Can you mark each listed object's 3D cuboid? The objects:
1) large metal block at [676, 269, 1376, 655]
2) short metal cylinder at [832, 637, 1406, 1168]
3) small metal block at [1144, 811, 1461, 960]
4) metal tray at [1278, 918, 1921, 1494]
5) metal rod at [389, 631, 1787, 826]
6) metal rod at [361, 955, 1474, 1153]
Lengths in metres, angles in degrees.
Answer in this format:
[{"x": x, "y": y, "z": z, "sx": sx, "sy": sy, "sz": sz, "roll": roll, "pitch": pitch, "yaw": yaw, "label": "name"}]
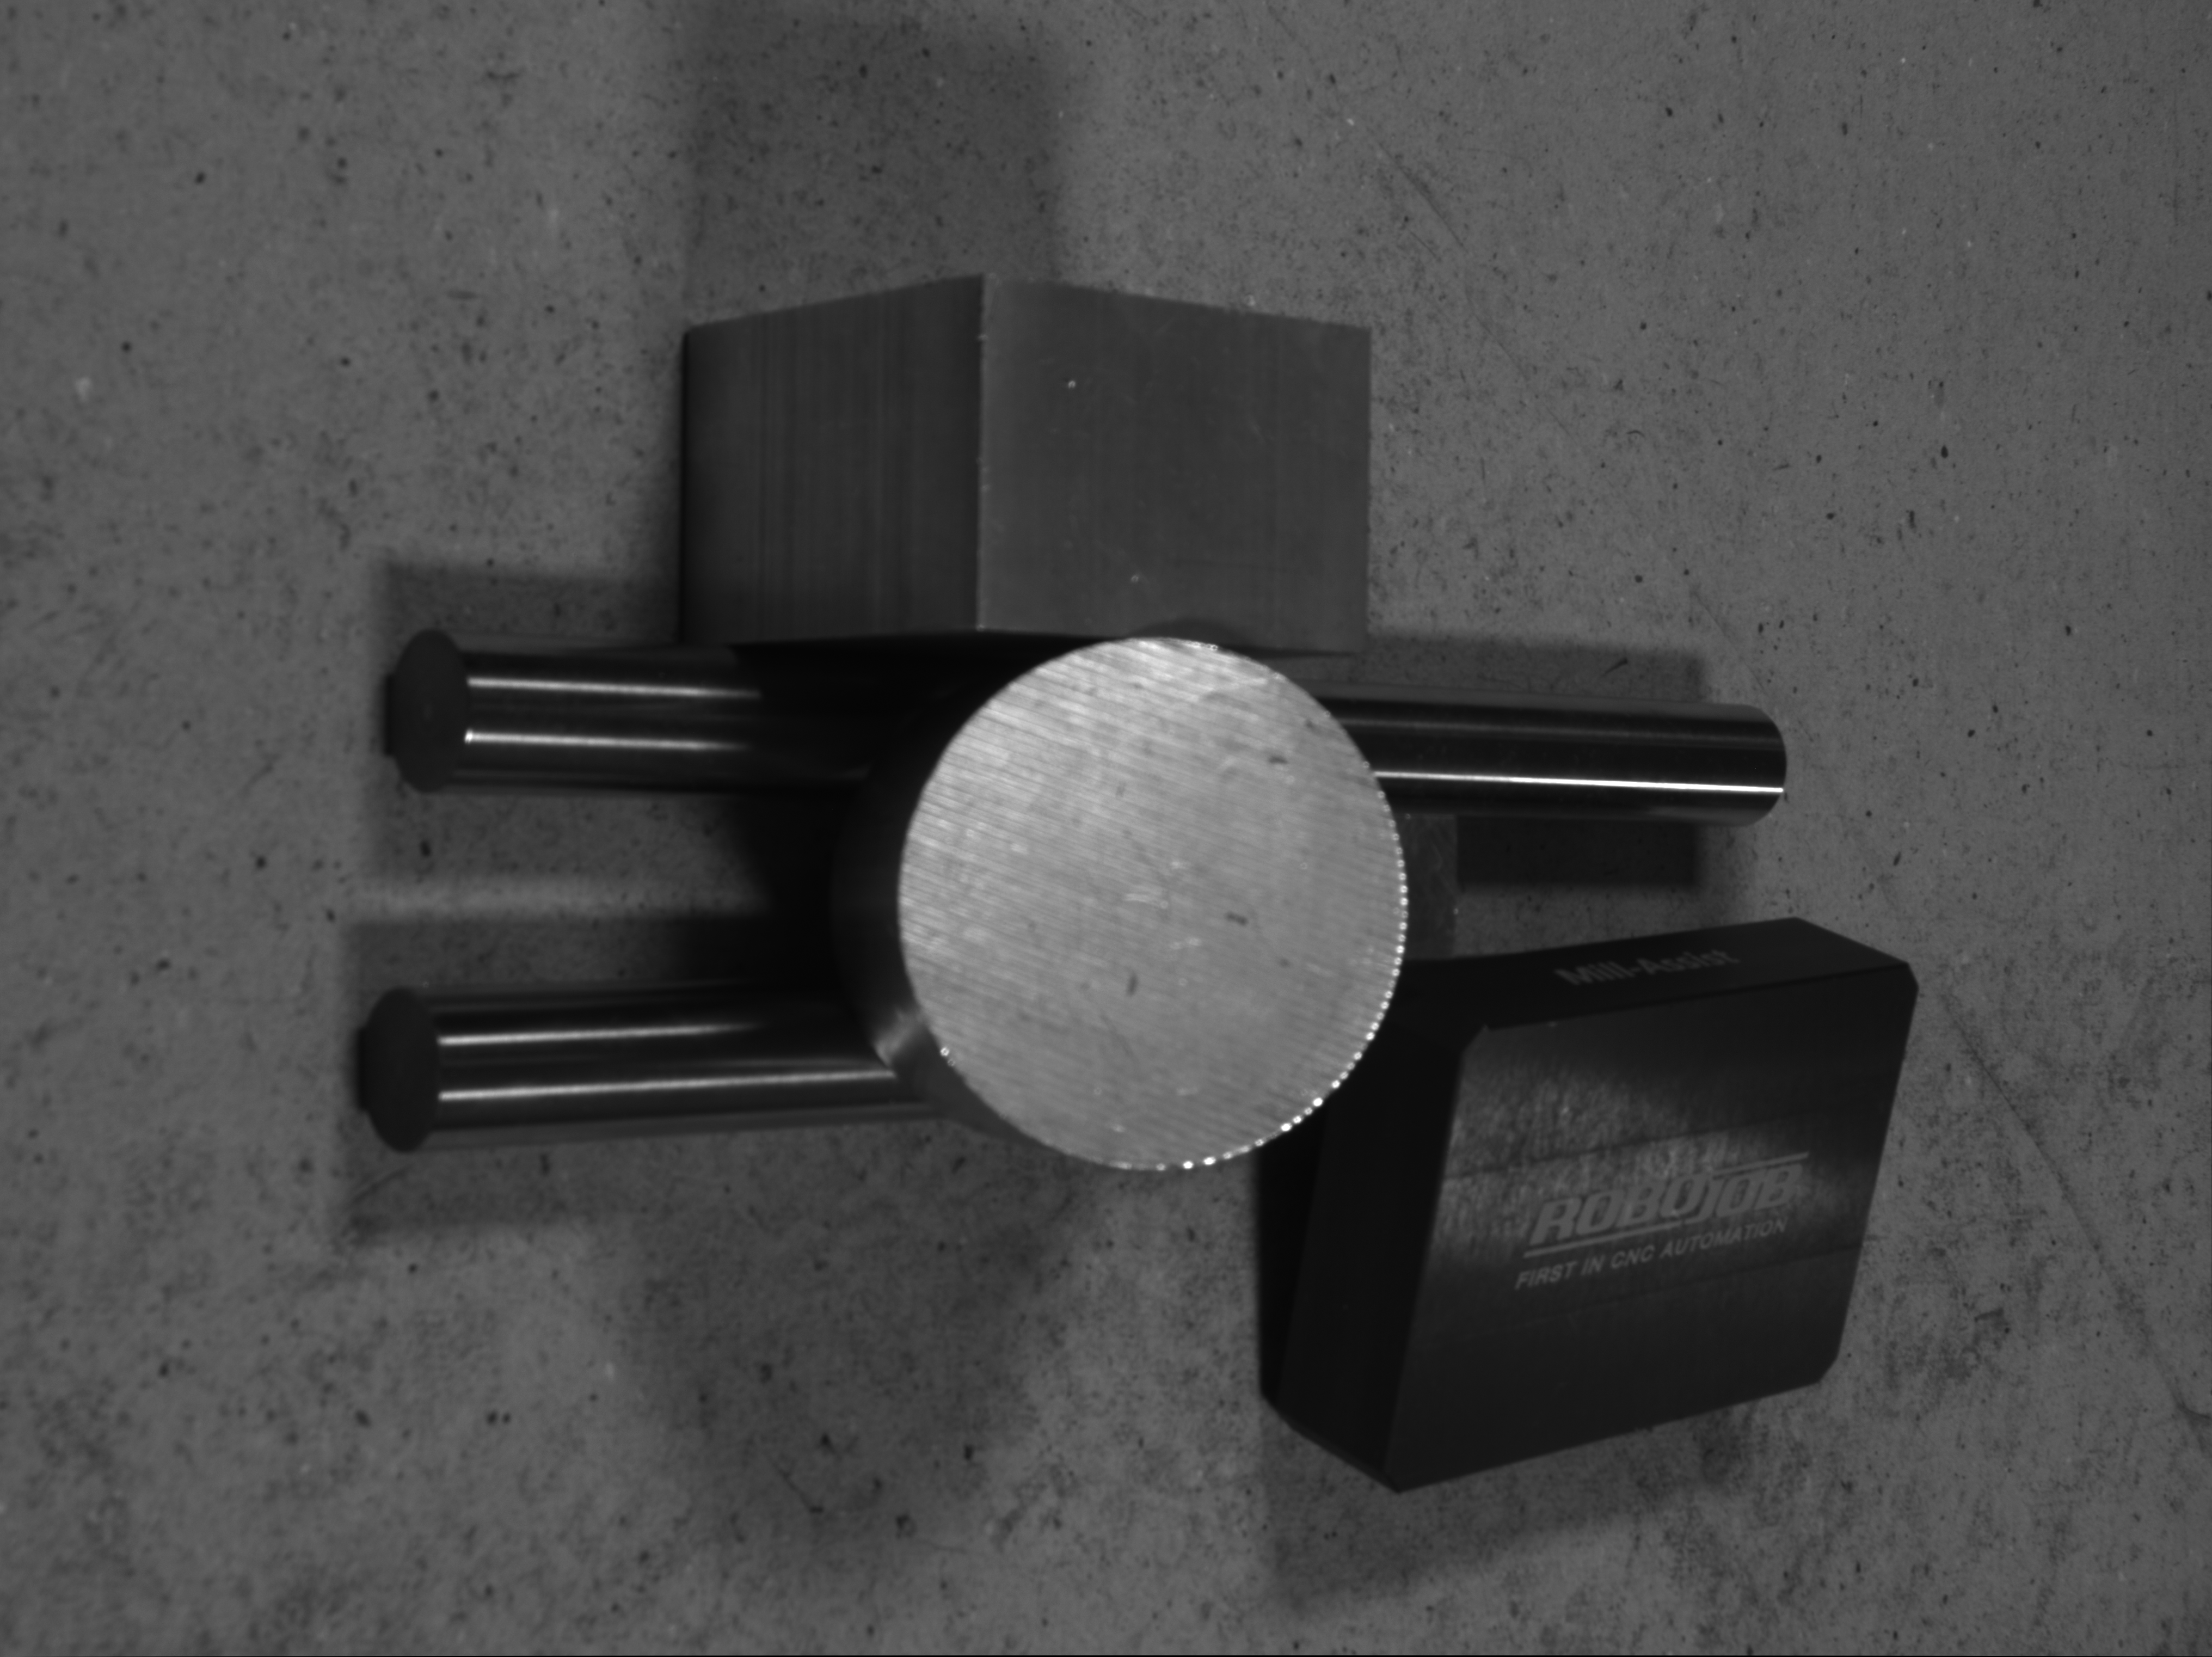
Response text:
[{"x": -0.013, "y": -0.056, "z": 0.591, "sx": 0.080, "sy": 0.080, "sz": 0.050, "roll": 1, "pitch": 89, "yaw": -40, "label": "large metal block"}, {"x": 0.001, "y": 0.012, "z": 0.576, "sx": 0.080, "sy": 0.050, "sz": 0.080, "roll": 1, "pitch": 88, "yaw": -16, "label": "short metal cylinder"}, {"x": 0.027, "y": 0.010, "z": 0.643, "sx": 0.050, "sy": 0.050, "sz": 0.025, "roll": 1, "pitch": 89, "yaw": -40, "label": "small metal block"}, {"x": 0.096, "y": 0.069, "z": 0.695, "sx": 0.130, "sy": 0.030, "sz": 0.090, "roll": -5, "pitch": 111, "yaw": -41, "label": "metal tray"}, {"x": 0.013, "y": -0.015, "z": 0.649, "sx": 0.301, "sy": 0.025, "sz": 0.025, "roll": 1, "pitch": 89, "yaw": -40, "label": "metal rod"}, {"x": 0.010, "y": 0.036, "z": 0.646, "sx": 0.301, "sy": 0.025, "sz": 0.025, "roll": 0, "pitch": 90, "yaw": -40, "label": "metal rod"}]
